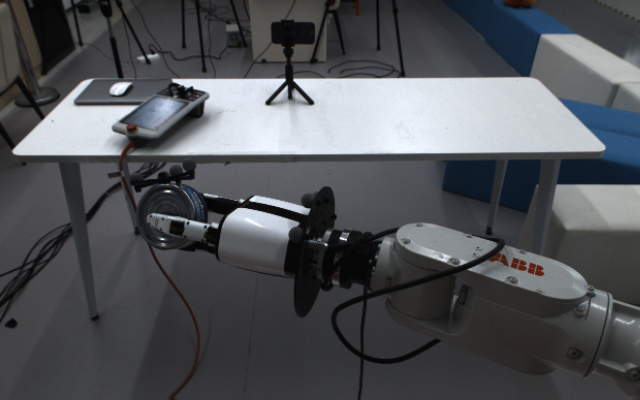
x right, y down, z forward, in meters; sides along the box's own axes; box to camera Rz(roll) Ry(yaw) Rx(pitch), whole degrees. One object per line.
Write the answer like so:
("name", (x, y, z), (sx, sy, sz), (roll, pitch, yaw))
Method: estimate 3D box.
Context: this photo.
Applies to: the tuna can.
("tuna can", (-0.187, 0.027, 0.617), (0.085, 0.085, 0.034), (12, 3, 14))
